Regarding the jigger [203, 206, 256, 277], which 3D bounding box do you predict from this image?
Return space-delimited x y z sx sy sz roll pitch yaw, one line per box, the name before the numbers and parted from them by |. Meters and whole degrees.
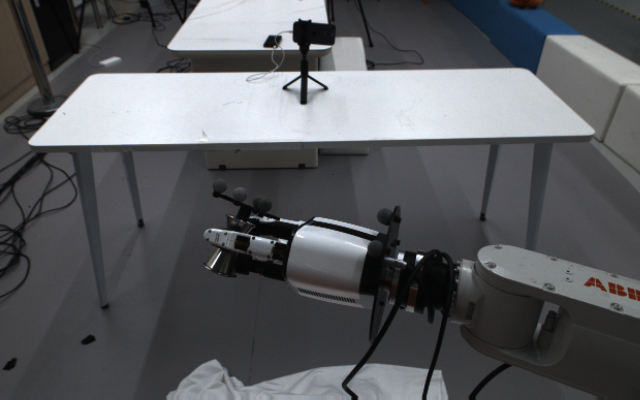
jigger | -0.109 0.053 0.584 0.043 0.071 0.043 24 -2 1
